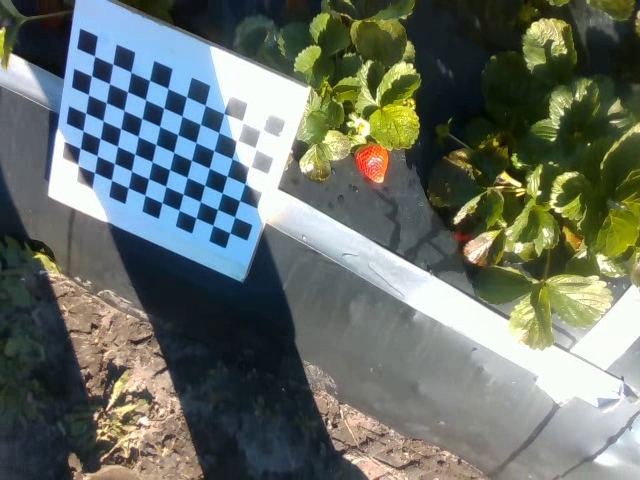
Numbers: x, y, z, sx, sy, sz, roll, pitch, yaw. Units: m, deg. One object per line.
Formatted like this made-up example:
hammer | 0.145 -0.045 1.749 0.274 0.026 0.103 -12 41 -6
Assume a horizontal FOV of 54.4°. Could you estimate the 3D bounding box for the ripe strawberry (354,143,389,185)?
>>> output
ripe strawberry | 0.066 -0.094 0.777 0.048 0.055 0.030 -20 16 23
